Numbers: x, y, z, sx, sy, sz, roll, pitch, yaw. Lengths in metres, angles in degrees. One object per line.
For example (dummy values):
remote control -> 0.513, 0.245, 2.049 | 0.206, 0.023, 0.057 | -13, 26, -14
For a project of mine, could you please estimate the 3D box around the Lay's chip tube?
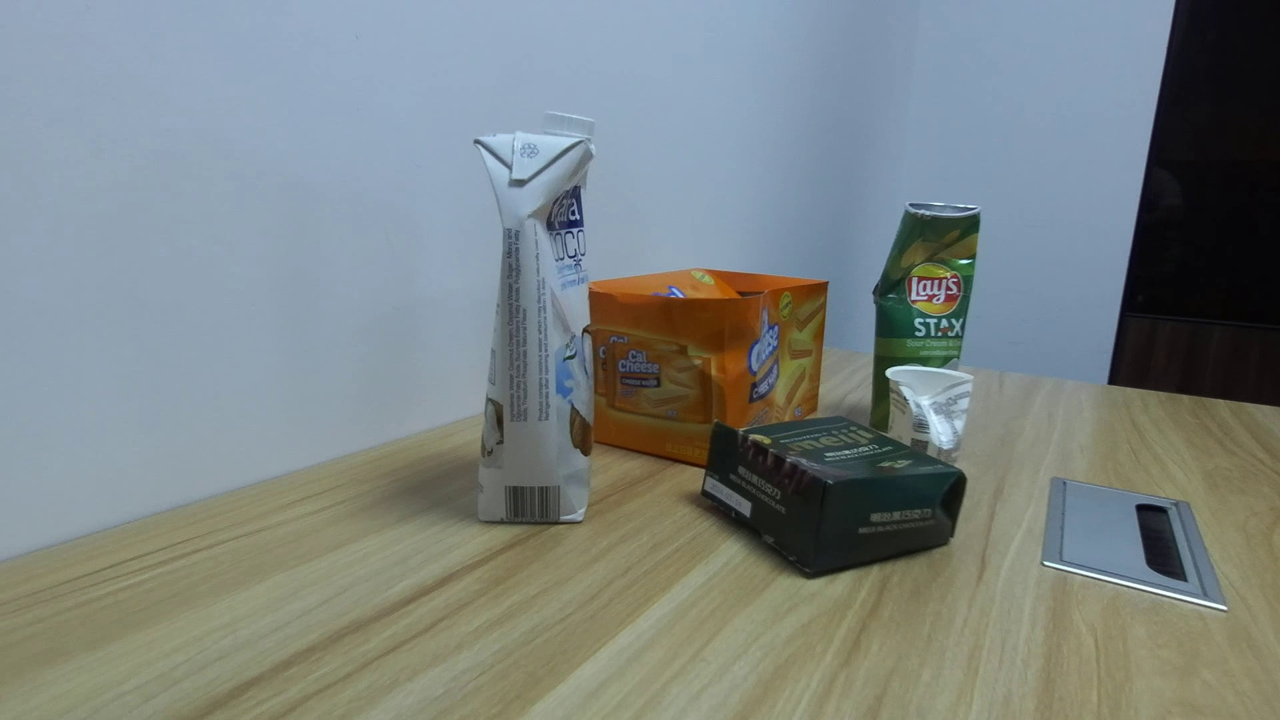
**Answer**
Lay's chip tube -> 0.250, -0.036, 0.624 | 0.069, 0.201, 0.077 | 11, 19, 32

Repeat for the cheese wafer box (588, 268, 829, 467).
cheese wafer box -> 0.059, -0.004, 0.617 | 0.151, 0.132, 0.231 | 11, 14, 30

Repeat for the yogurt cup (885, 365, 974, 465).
yogurt cup -> 0.219, 0.045, 0.545 | 0.067, 0.070, 0.067 | 1, 15, 0

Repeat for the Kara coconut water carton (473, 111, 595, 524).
Kara coconut water carton -> -0.060, -0.025, 0.426 | 0.069, 0.238, 0.115 | 3, 12, -2

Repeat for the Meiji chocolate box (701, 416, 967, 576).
Meiji chocolate box -> 0.115, 0.076, 0.429 | 0.116, 0.058, 0.122 | -1, 13, -28
